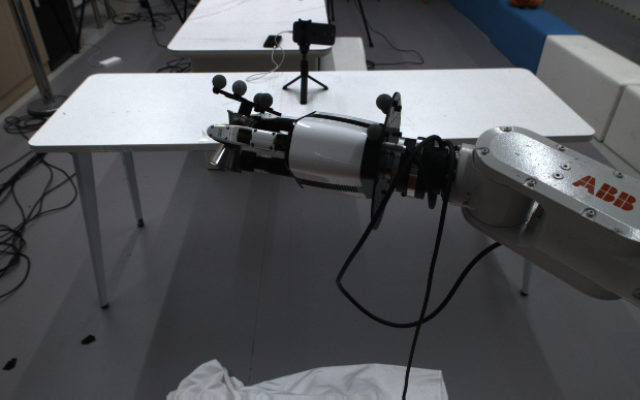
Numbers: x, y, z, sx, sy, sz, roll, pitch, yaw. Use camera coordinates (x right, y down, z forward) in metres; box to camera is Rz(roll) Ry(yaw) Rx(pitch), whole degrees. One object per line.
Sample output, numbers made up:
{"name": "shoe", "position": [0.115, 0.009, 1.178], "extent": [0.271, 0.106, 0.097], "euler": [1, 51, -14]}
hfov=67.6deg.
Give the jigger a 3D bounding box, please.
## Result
{"name": "jigger", "position": [-0.107, -0.072, 0.595], "extent": [0.043, 0.071, 0.043], "euler": [22, 6, -2]}
